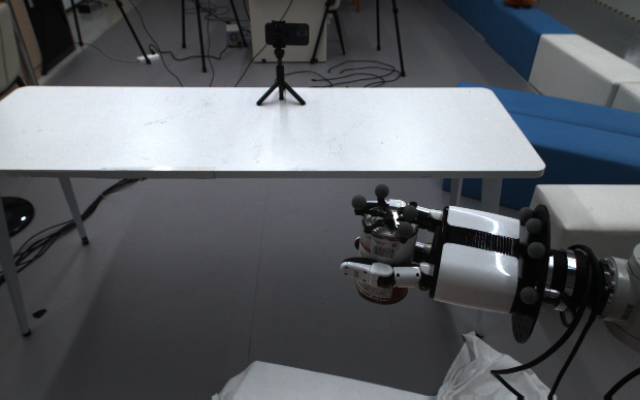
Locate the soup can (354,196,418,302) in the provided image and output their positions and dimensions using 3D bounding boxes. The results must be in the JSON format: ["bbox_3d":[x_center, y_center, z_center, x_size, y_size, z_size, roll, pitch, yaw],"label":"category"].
[{"bbox_3d":[0.082,0.067,0.588,0.067,0.101,0.067,2,32,-1],"label":"soup can"}]
